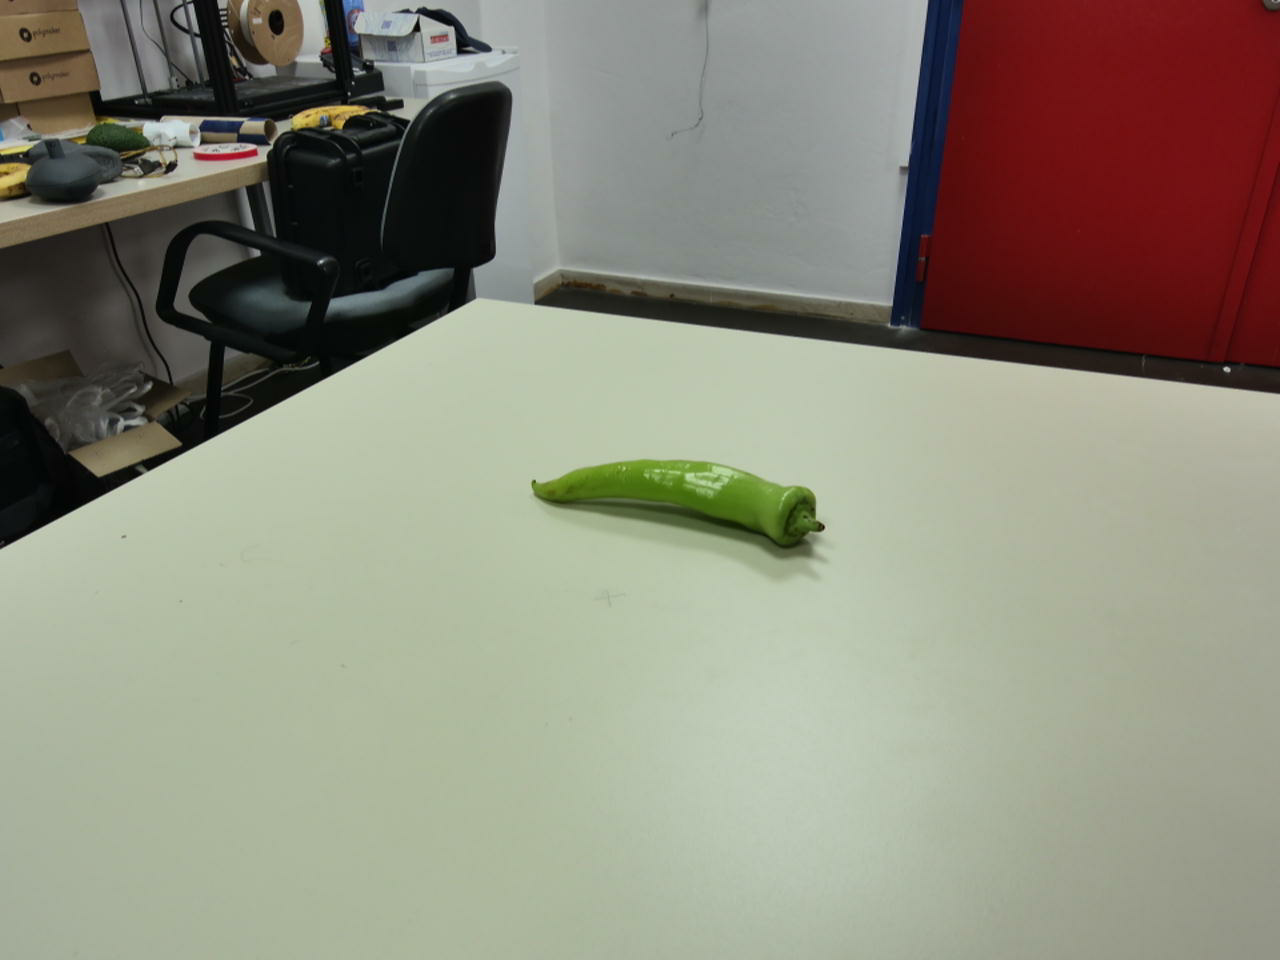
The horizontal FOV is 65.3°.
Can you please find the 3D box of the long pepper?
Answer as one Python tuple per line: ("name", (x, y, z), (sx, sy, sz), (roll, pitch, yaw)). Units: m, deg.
("long pepper", (0.022, 0.005, 0.611), (0.197, 0.038, 0.046), (12, 28, 24))
